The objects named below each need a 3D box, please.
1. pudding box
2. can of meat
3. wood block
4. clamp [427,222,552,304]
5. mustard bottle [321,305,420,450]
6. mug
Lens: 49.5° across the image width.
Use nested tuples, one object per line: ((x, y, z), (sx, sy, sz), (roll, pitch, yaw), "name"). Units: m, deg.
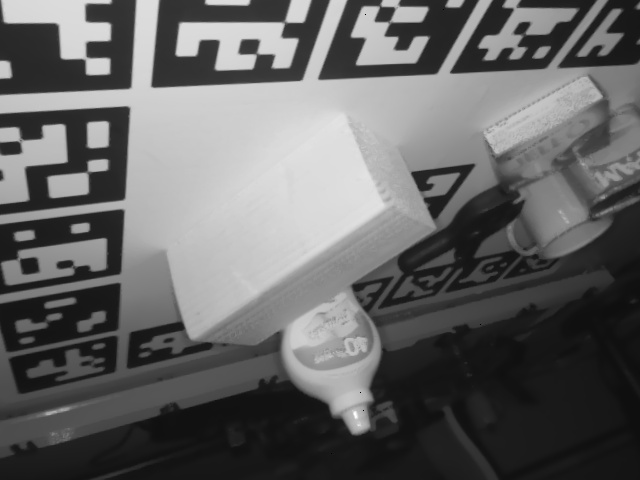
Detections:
((0.257, -0.064, 0.717), (0.113, 0.039, 0.090), (-28, 147, 12), "pudding box")
((0.351, -0.041, 0.758), (0.102, 0.084, 0.058), (-24, 147, 3), "can of meat")
((0.017, 0.024, 0.655), (0.204, 0.091, 0.091), (-35, 148, 22), "wood block")
((0.220, 0.033, 0.848), (0.123, 0.036, 0.162), (8, 135, -37), "clamp")
((0.049, 0.125, 0.719), (0.097, 0.191, 0.057), (-11, 146, -19), "mustard bottle")
((0.306, 0.003, 0.849), (0.094, 0.081, 0.115), (9, 134, -40), "mug")
